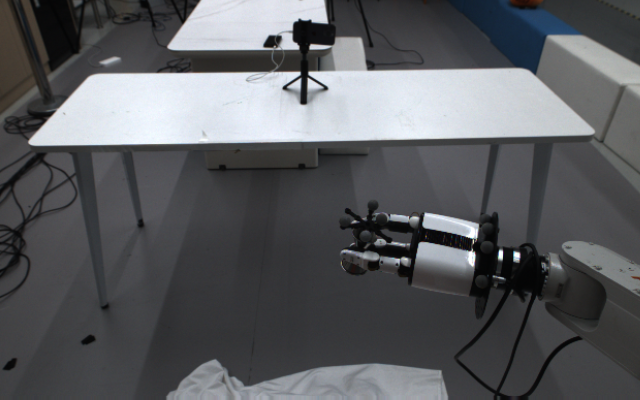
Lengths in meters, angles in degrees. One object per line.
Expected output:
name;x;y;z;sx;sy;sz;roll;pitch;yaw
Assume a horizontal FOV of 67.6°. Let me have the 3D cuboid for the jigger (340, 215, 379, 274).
jigger;0.060;0.077;0.752;0.043;0.071;0.043;10;36;-7
